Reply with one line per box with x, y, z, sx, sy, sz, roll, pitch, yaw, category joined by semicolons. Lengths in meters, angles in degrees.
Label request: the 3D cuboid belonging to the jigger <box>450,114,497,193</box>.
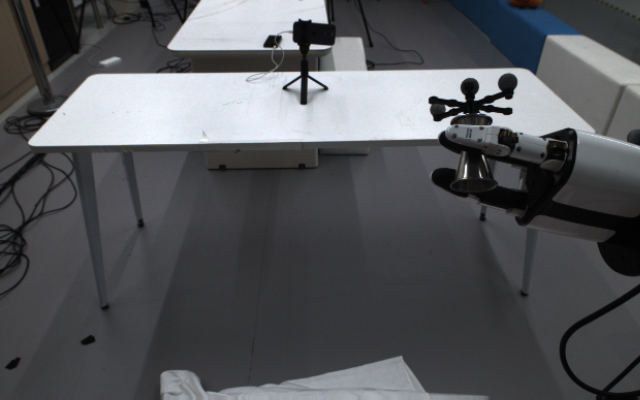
0.149;-0.046;0.480;0.043;0.043;0.071;3;75;1;jigger
